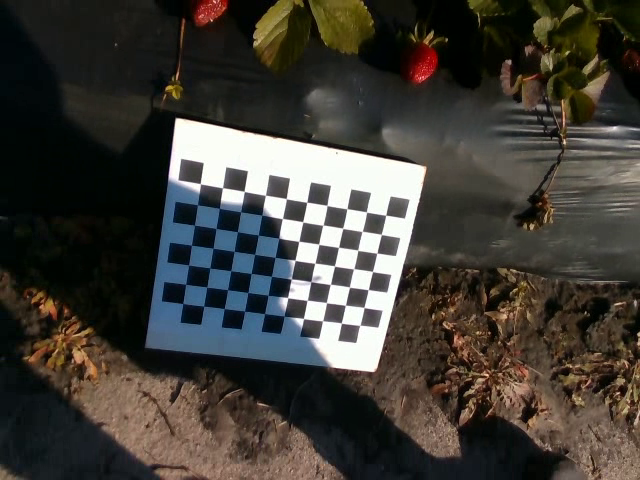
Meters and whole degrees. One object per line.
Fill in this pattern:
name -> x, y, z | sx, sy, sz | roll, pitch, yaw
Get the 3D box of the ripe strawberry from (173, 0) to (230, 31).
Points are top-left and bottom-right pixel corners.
ripe strawberry -> -0.103, -0.218, 0.555 | 0.041, 0.053, 0.043 | 20, -32, -17

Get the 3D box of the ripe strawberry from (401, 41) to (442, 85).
ripe strawberry -> 0.096, -0.172, 0.589 | 0.042, 0.050, 0.043 | 44, -43, -20
